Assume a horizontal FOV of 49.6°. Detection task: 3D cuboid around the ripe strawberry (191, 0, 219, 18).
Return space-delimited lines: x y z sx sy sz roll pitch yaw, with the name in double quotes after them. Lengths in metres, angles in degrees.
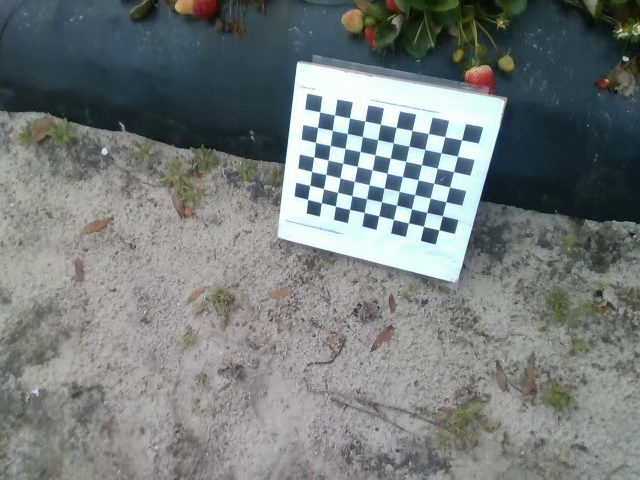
-0.159 -0.323 0.943 0.042 0.034 0.033 -47 -1 -34 "ripe strawberry"
